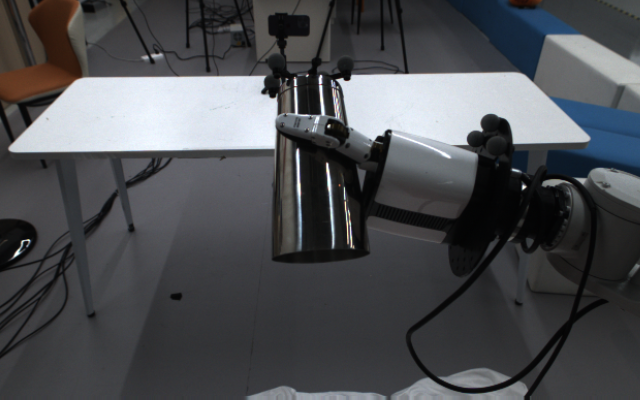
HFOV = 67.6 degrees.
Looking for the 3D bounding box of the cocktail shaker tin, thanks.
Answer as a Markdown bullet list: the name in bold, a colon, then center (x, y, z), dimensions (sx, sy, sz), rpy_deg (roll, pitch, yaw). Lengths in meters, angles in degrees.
- **cocktail shaker tin**: center (-0.003, -0.028, 0.470), dimensions (0.093, 0.093, 0.170), rpy_deg (-3, 76, -7)
